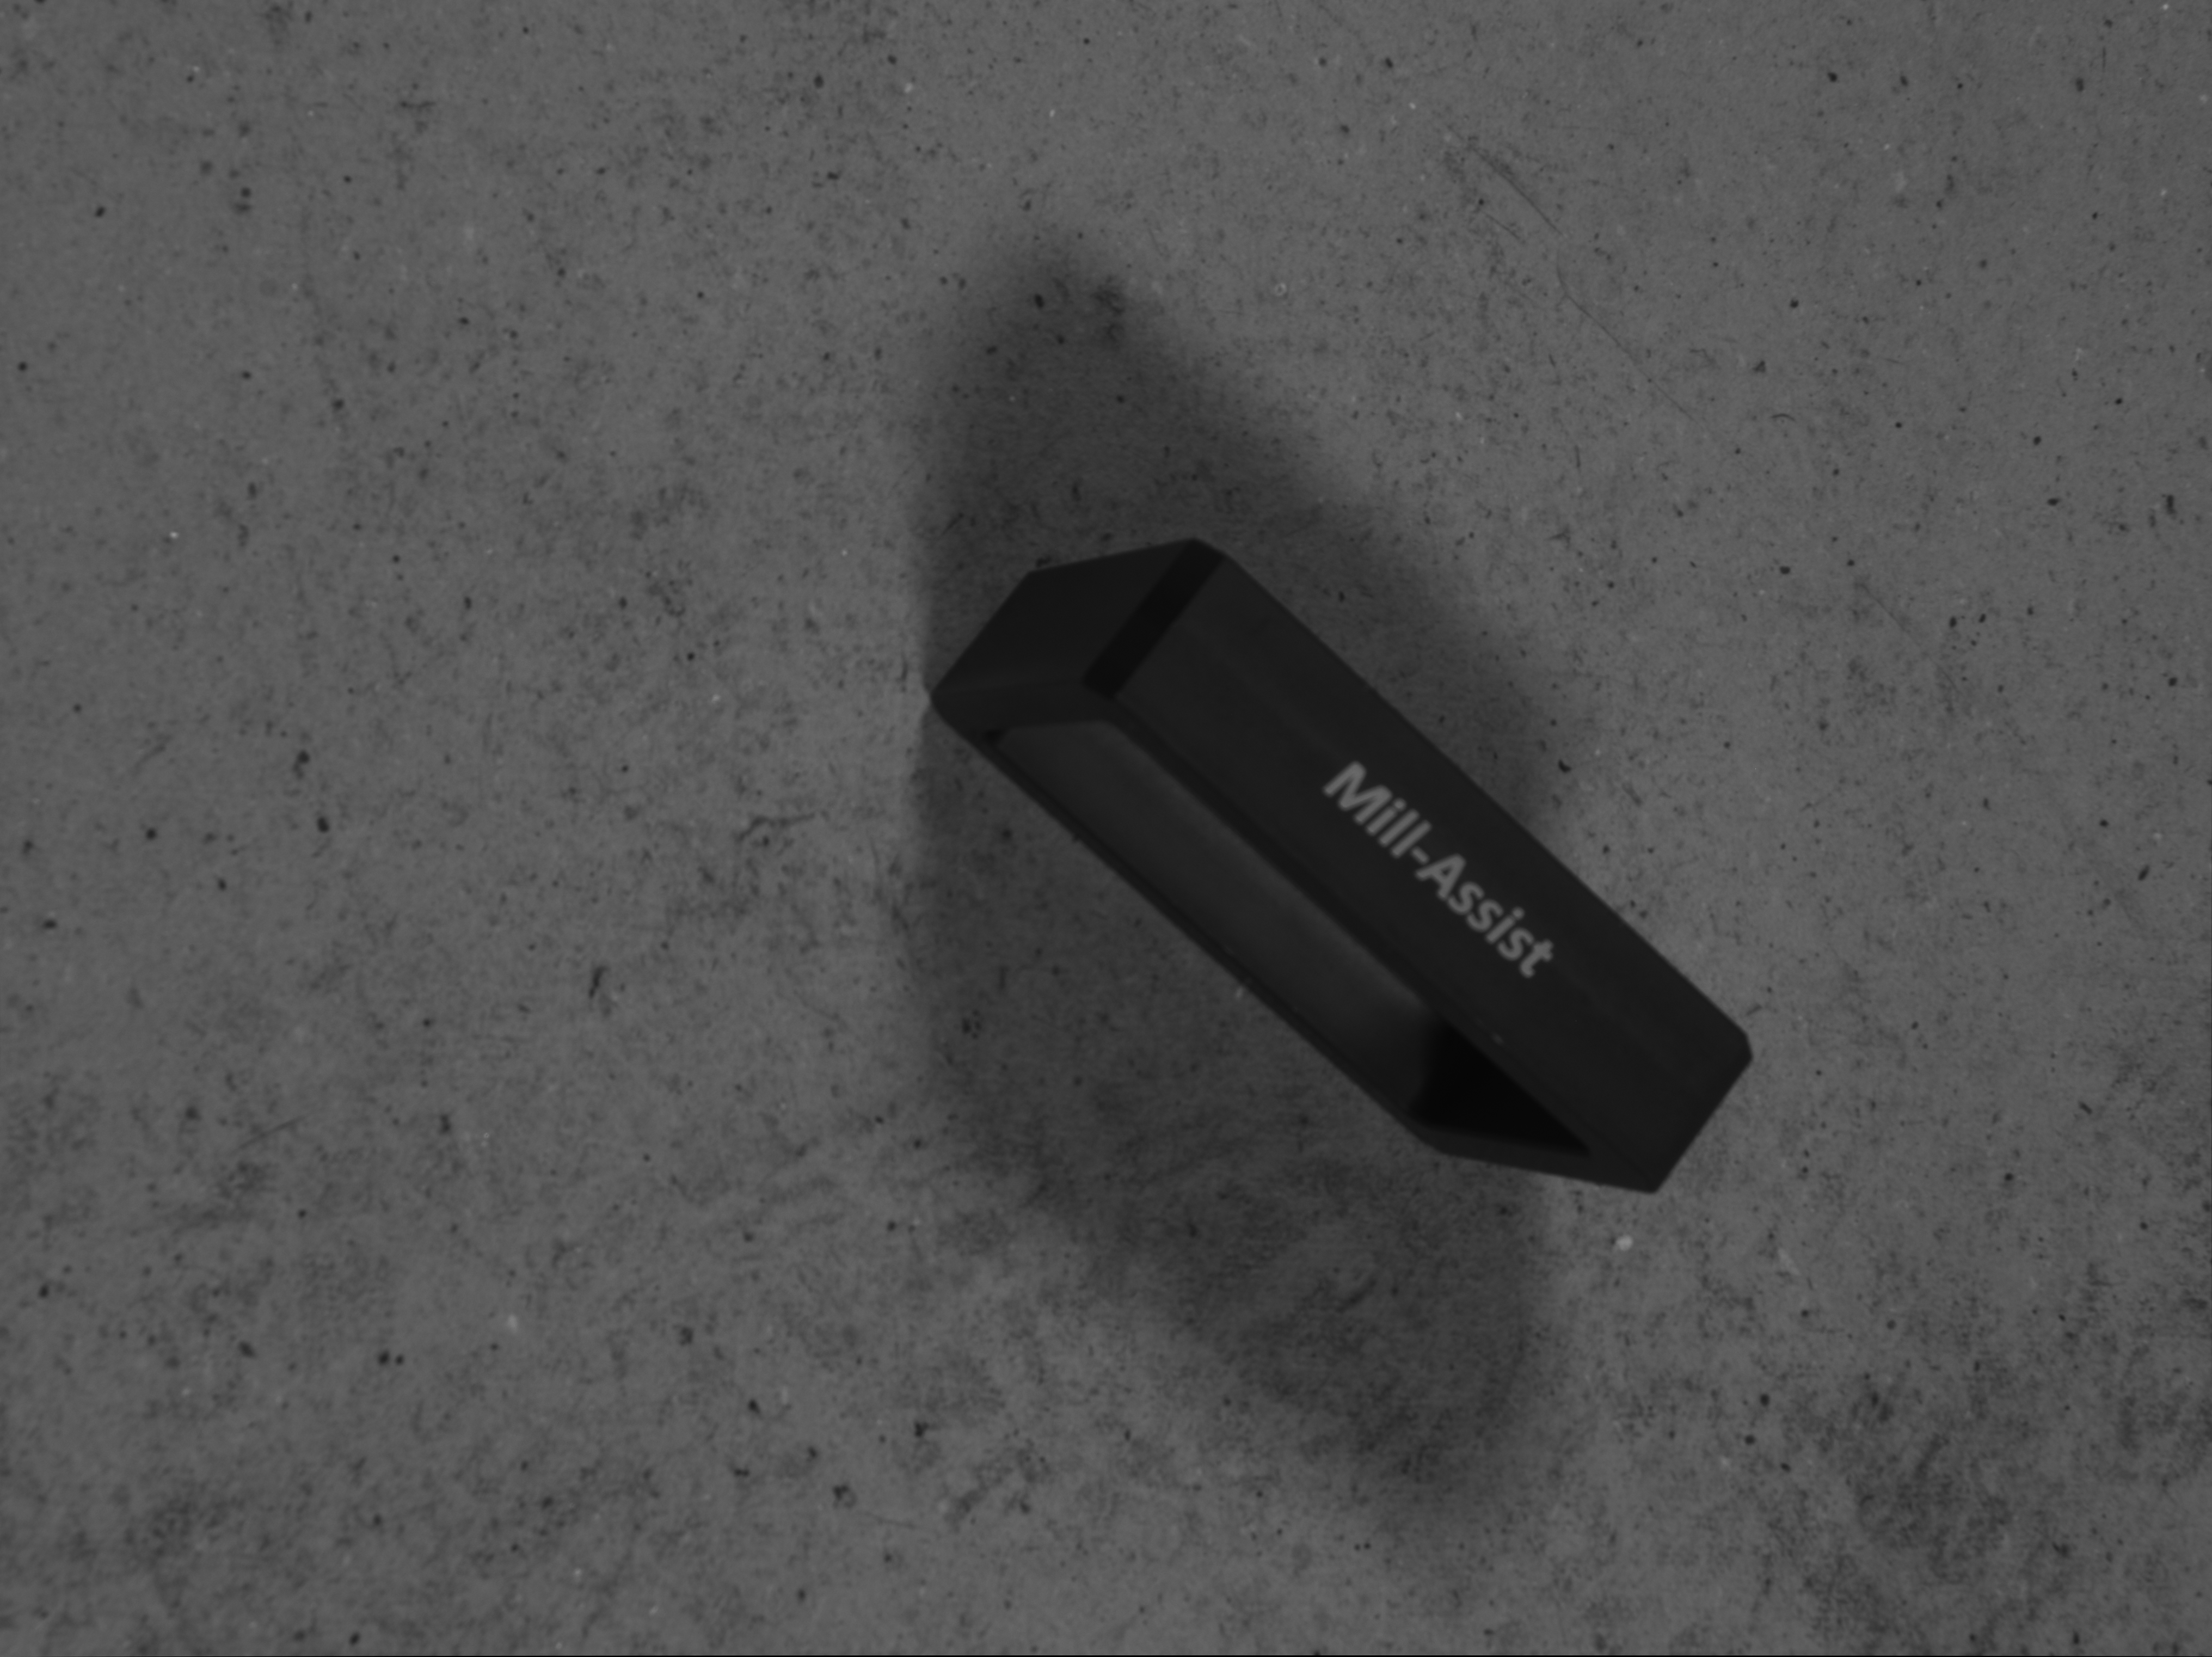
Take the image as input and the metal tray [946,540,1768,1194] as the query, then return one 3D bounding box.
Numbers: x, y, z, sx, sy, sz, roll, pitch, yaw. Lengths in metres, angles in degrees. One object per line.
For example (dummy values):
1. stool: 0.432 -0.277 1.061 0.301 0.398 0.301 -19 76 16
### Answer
1. metal tray: 0.041 0.007 0.624 0.130 0.090 0.030 42 77 -15
